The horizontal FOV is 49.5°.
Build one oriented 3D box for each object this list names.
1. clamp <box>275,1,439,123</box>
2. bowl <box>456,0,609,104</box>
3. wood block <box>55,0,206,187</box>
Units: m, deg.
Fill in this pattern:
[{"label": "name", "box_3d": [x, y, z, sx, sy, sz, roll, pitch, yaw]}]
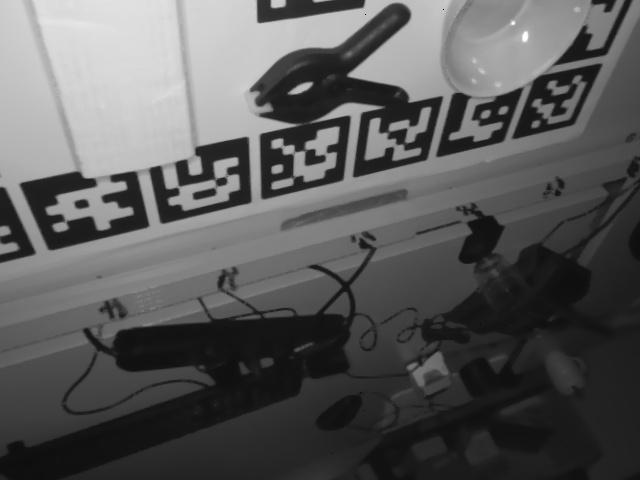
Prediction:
[{"label": "clamp", "box_3d": [0.038, -0.155, 0.668, 0.166, 0.036, 0.121, -20, 144, -6]}, {"label": "bowl", "box_3d": [0.195, -0.213, 0.676, 0.163, 0.055, 0.160, -16, 141, -13]}, {"label": "wood block", "box_3d": [-0.140, -0.148, 0.505, 0.091, 0.091, 0.204, -12, 142, -17]}]
